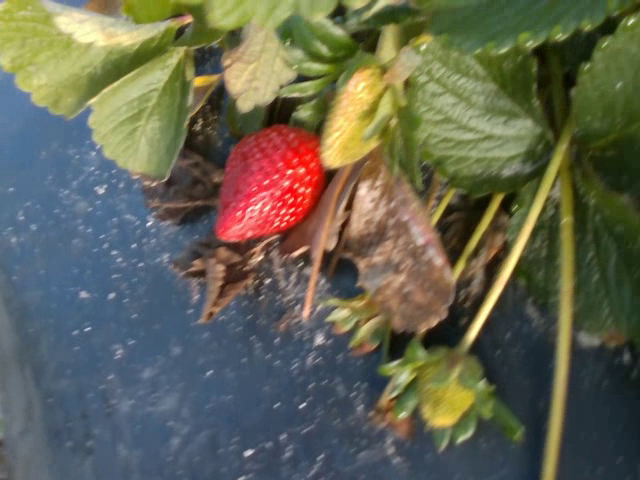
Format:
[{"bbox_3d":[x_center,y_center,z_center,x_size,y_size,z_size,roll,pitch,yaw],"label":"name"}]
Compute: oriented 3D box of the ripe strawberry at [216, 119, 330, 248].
[{"bbox_3d":[-0.015,-0.012,0.148,0.031,0.030,0.026,22,-26,32],"label":"ripe strawberry"}]
